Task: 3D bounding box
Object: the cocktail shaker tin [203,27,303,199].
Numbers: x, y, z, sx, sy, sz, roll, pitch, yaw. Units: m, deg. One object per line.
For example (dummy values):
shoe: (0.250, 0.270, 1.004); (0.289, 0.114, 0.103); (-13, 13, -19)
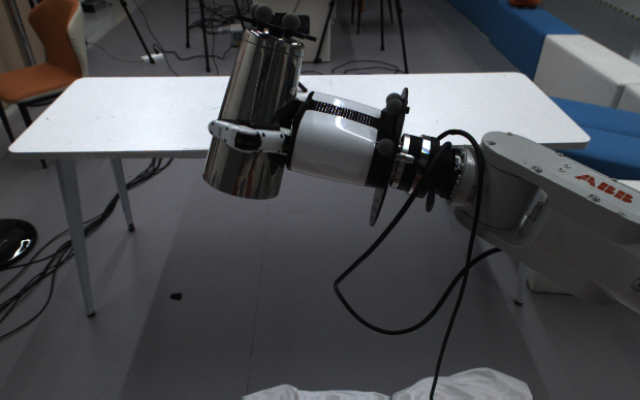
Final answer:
cocktail shaker tin: (-0.068, -0.096, 0.543); (0.093, 0.170, 0.093); (14, 19, -5)
